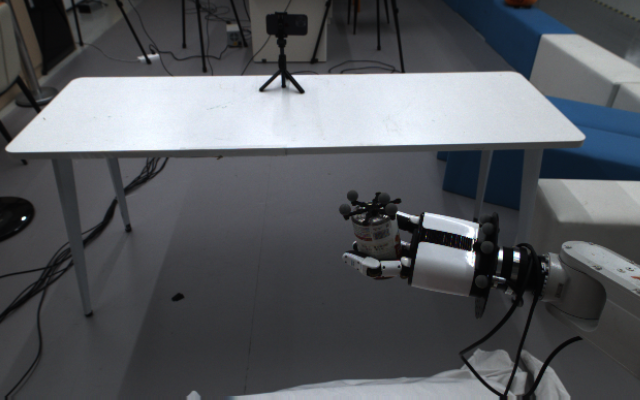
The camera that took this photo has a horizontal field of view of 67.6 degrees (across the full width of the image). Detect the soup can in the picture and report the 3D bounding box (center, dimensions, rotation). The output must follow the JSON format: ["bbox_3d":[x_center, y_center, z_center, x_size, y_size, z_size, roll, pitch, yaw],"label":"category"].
[{"bbox_3d":[0.090,0.060,0.731,0.067,0.101,0.067,-11,27,6],"label":"soup can"}]
